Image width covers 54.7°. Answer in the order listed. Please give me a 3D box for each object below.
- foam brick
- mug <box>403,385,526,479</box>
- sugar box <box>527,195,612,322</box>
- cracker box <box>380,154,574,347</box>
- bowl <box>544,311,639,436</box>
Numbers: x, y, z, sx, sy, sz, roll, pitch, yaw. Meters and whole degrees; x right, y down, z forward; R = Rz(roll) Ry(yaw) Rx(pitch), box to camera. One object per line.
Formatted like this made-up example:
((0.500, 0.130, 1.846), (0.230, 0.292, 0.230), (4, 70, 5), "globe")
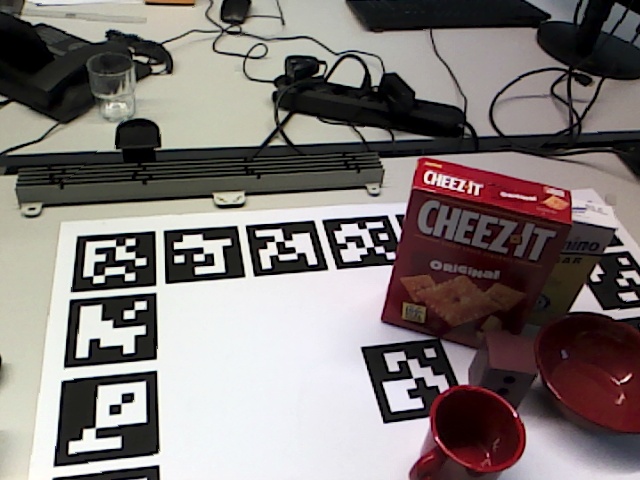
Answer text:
((0.199, 0.147, 0.699), (0.053, 0.078, 0.051), (7, 43, 1), "foam brick")
((0.136, 0.209, 0.611), (0.117, 0.081, 0.094), (-11, 38, -16), "mug")
((0.277, 0.023, 0.759), (0.093, 0.176, 0.045), (11, 44, 5), "sugar box")
((0.172, 0.026, 0.718), (0.164, 0.213, 0.072), (18, 42, 10), "cracker box")
((0.325, 0.159, 0.696), (0.161, 0.055, 0.162), (3, 44, -4), "bowl")
